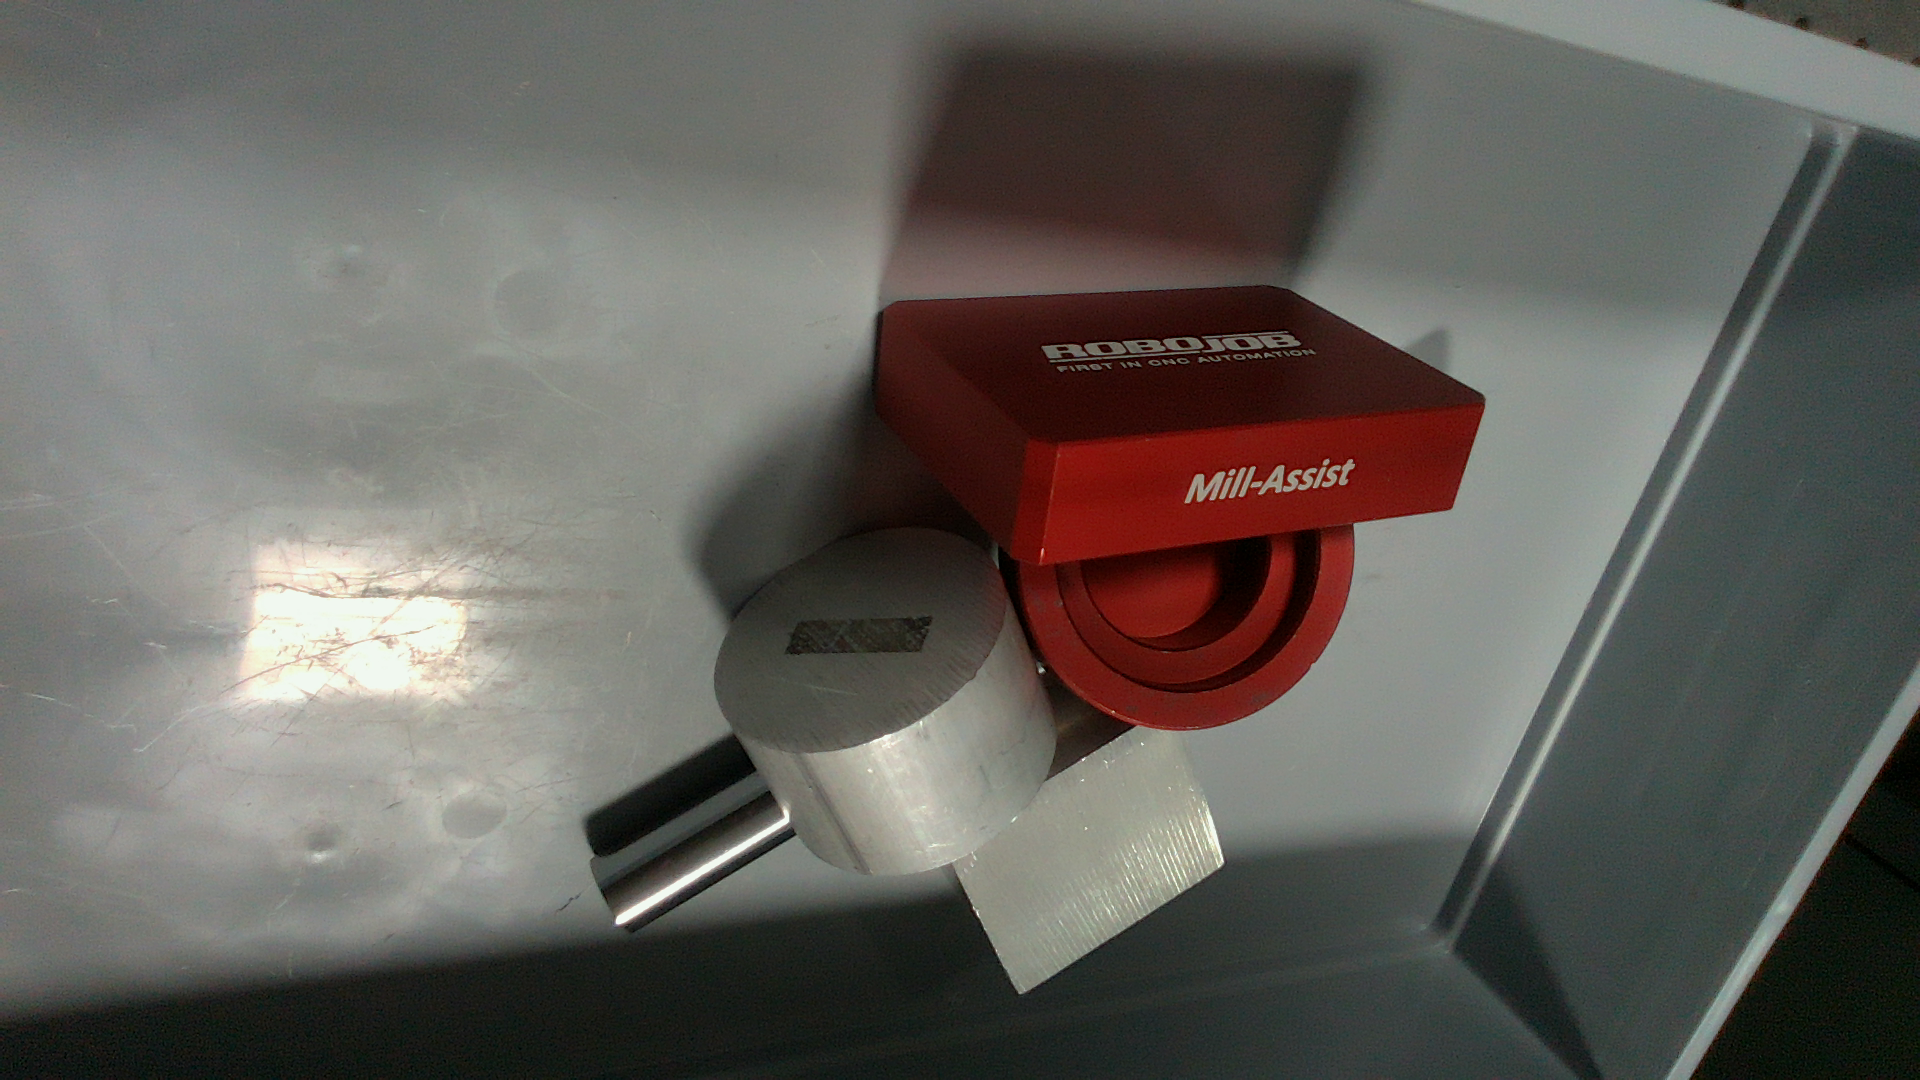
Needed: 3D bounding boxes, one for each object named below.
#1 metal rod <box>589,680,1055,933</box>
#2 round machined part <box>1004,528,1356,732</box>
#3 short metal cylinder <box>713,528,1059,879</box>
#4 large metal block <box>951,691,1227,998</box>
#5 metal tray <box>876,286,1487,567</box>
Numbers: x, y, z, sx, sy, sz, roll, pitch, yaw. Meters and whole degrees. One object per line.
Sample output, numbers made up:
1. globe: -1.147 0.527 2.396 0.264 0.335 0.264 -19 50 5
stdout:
1. metal rod: 0.029 0.030 0.421 0.300 0.025 0.025 -29 128 -10
2. round machined part: 0.059 0.002 0.392 0.098 0.042 0.098 -1 93 -14
3. short metal cylinder: -0.019 0.042 0.368 0.080 0.080 0.050 -30 128 -9
4. large metal block: 0.031 0.085 0.439 0.080 0.050 0.080 -29 128 -10
5. metal tray: 0.055 -0.035 0.353 0.130 0.090 0.030 -7 122 -25
